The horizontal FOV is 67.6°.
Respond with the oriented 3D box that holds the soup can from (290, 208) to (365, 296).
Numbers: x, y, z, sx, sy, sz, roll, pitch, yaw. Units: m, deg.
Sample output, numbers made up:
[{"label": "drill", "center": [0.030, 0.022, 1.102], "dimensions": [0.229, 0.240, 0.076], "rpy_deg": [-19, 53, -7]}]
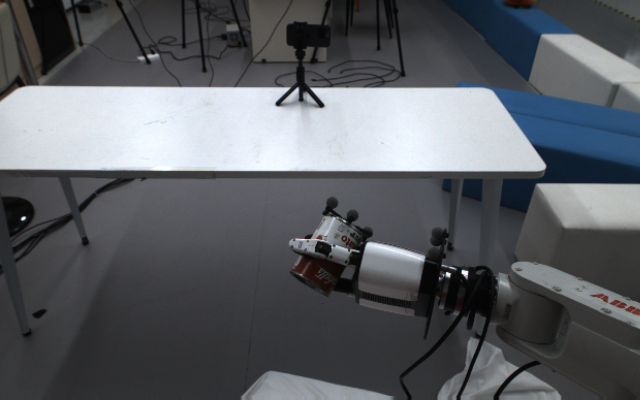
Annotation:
[{"label": "soup can", "center": [0.011, 0.080, 0.705], "dimensions": [0.067, 0.067, 0.101], "rpy_deg": [24, 72, 28]}]
